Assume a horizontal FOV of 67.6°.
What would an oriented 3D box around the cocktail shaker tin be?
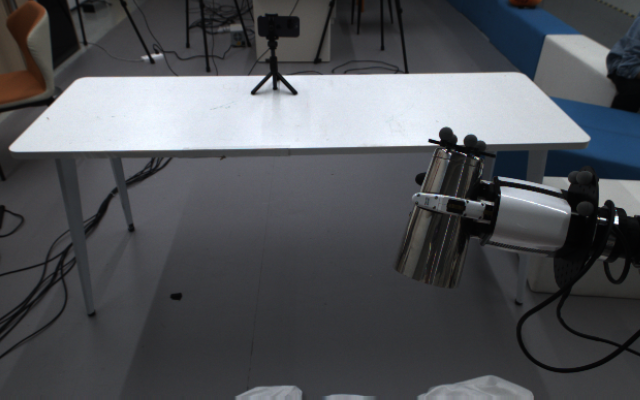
[{"bbox_3d":[0.167,0.021,0.650,0.093,0.170,0.093,14,6,-2],"label":"cocktail shaker tin"}]
